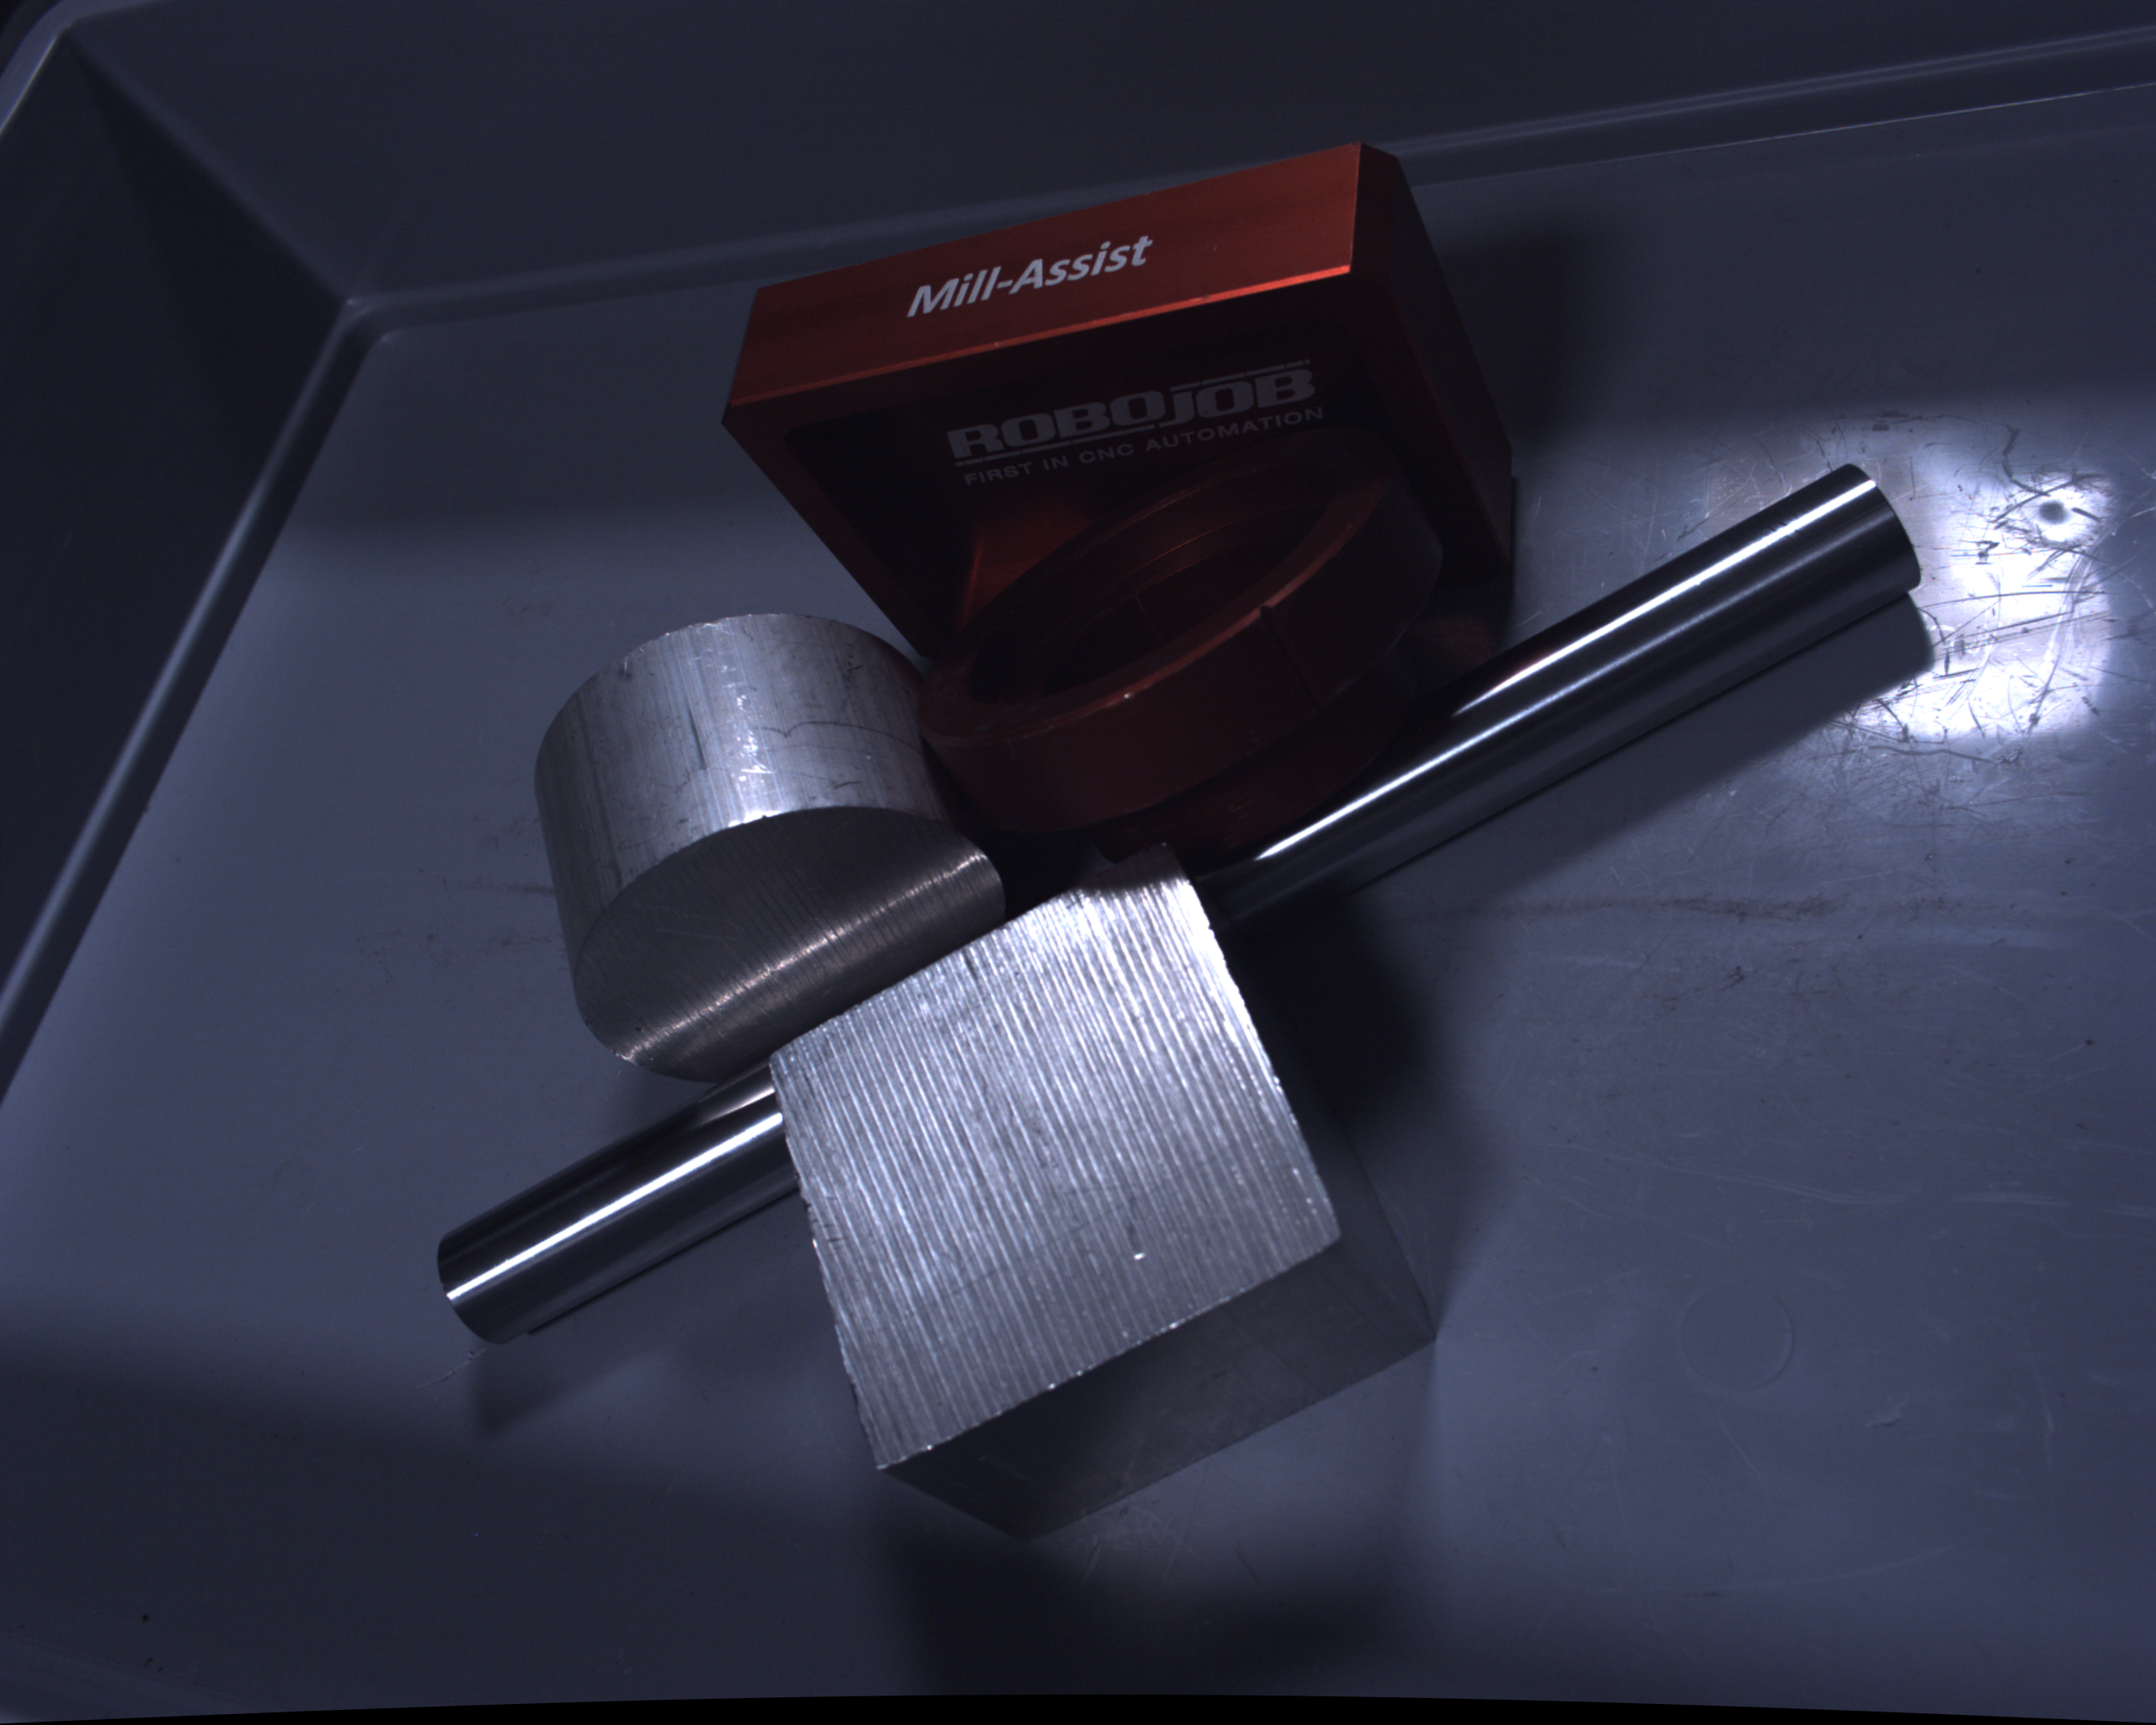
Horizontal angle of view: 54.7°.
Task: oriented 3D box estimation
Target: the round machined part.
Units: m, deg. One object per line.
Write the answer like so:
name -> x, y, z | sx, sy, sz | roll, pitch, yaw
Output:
round machined part -> 0.023, -0.036, 0.384 | 0.098, 0.042, 0.098 | -26, 24, 13

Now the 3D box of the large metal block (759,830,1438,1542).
large metal block -> 0.002, 0.055, 0.350 | 0.080, 0.050, 0.080 | -29, 52, 9

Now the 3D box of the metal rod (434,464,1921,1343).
metal rod -> 0.011, 0.012, 0.389 | 0.301, 0.025, 0.025 | -29, 52, 9

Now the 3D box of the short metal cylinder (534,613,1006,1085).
short metal cylinder -> -0.060, -0.001, 0.399 | 0.080, 0.080, 0.050 | -29, 52, 9

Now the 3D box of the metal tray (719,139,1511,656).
metal tray -> 0.009, -0.083, 0.406 | 0.130, 0.090, 0.030 | -6, 59, 24
